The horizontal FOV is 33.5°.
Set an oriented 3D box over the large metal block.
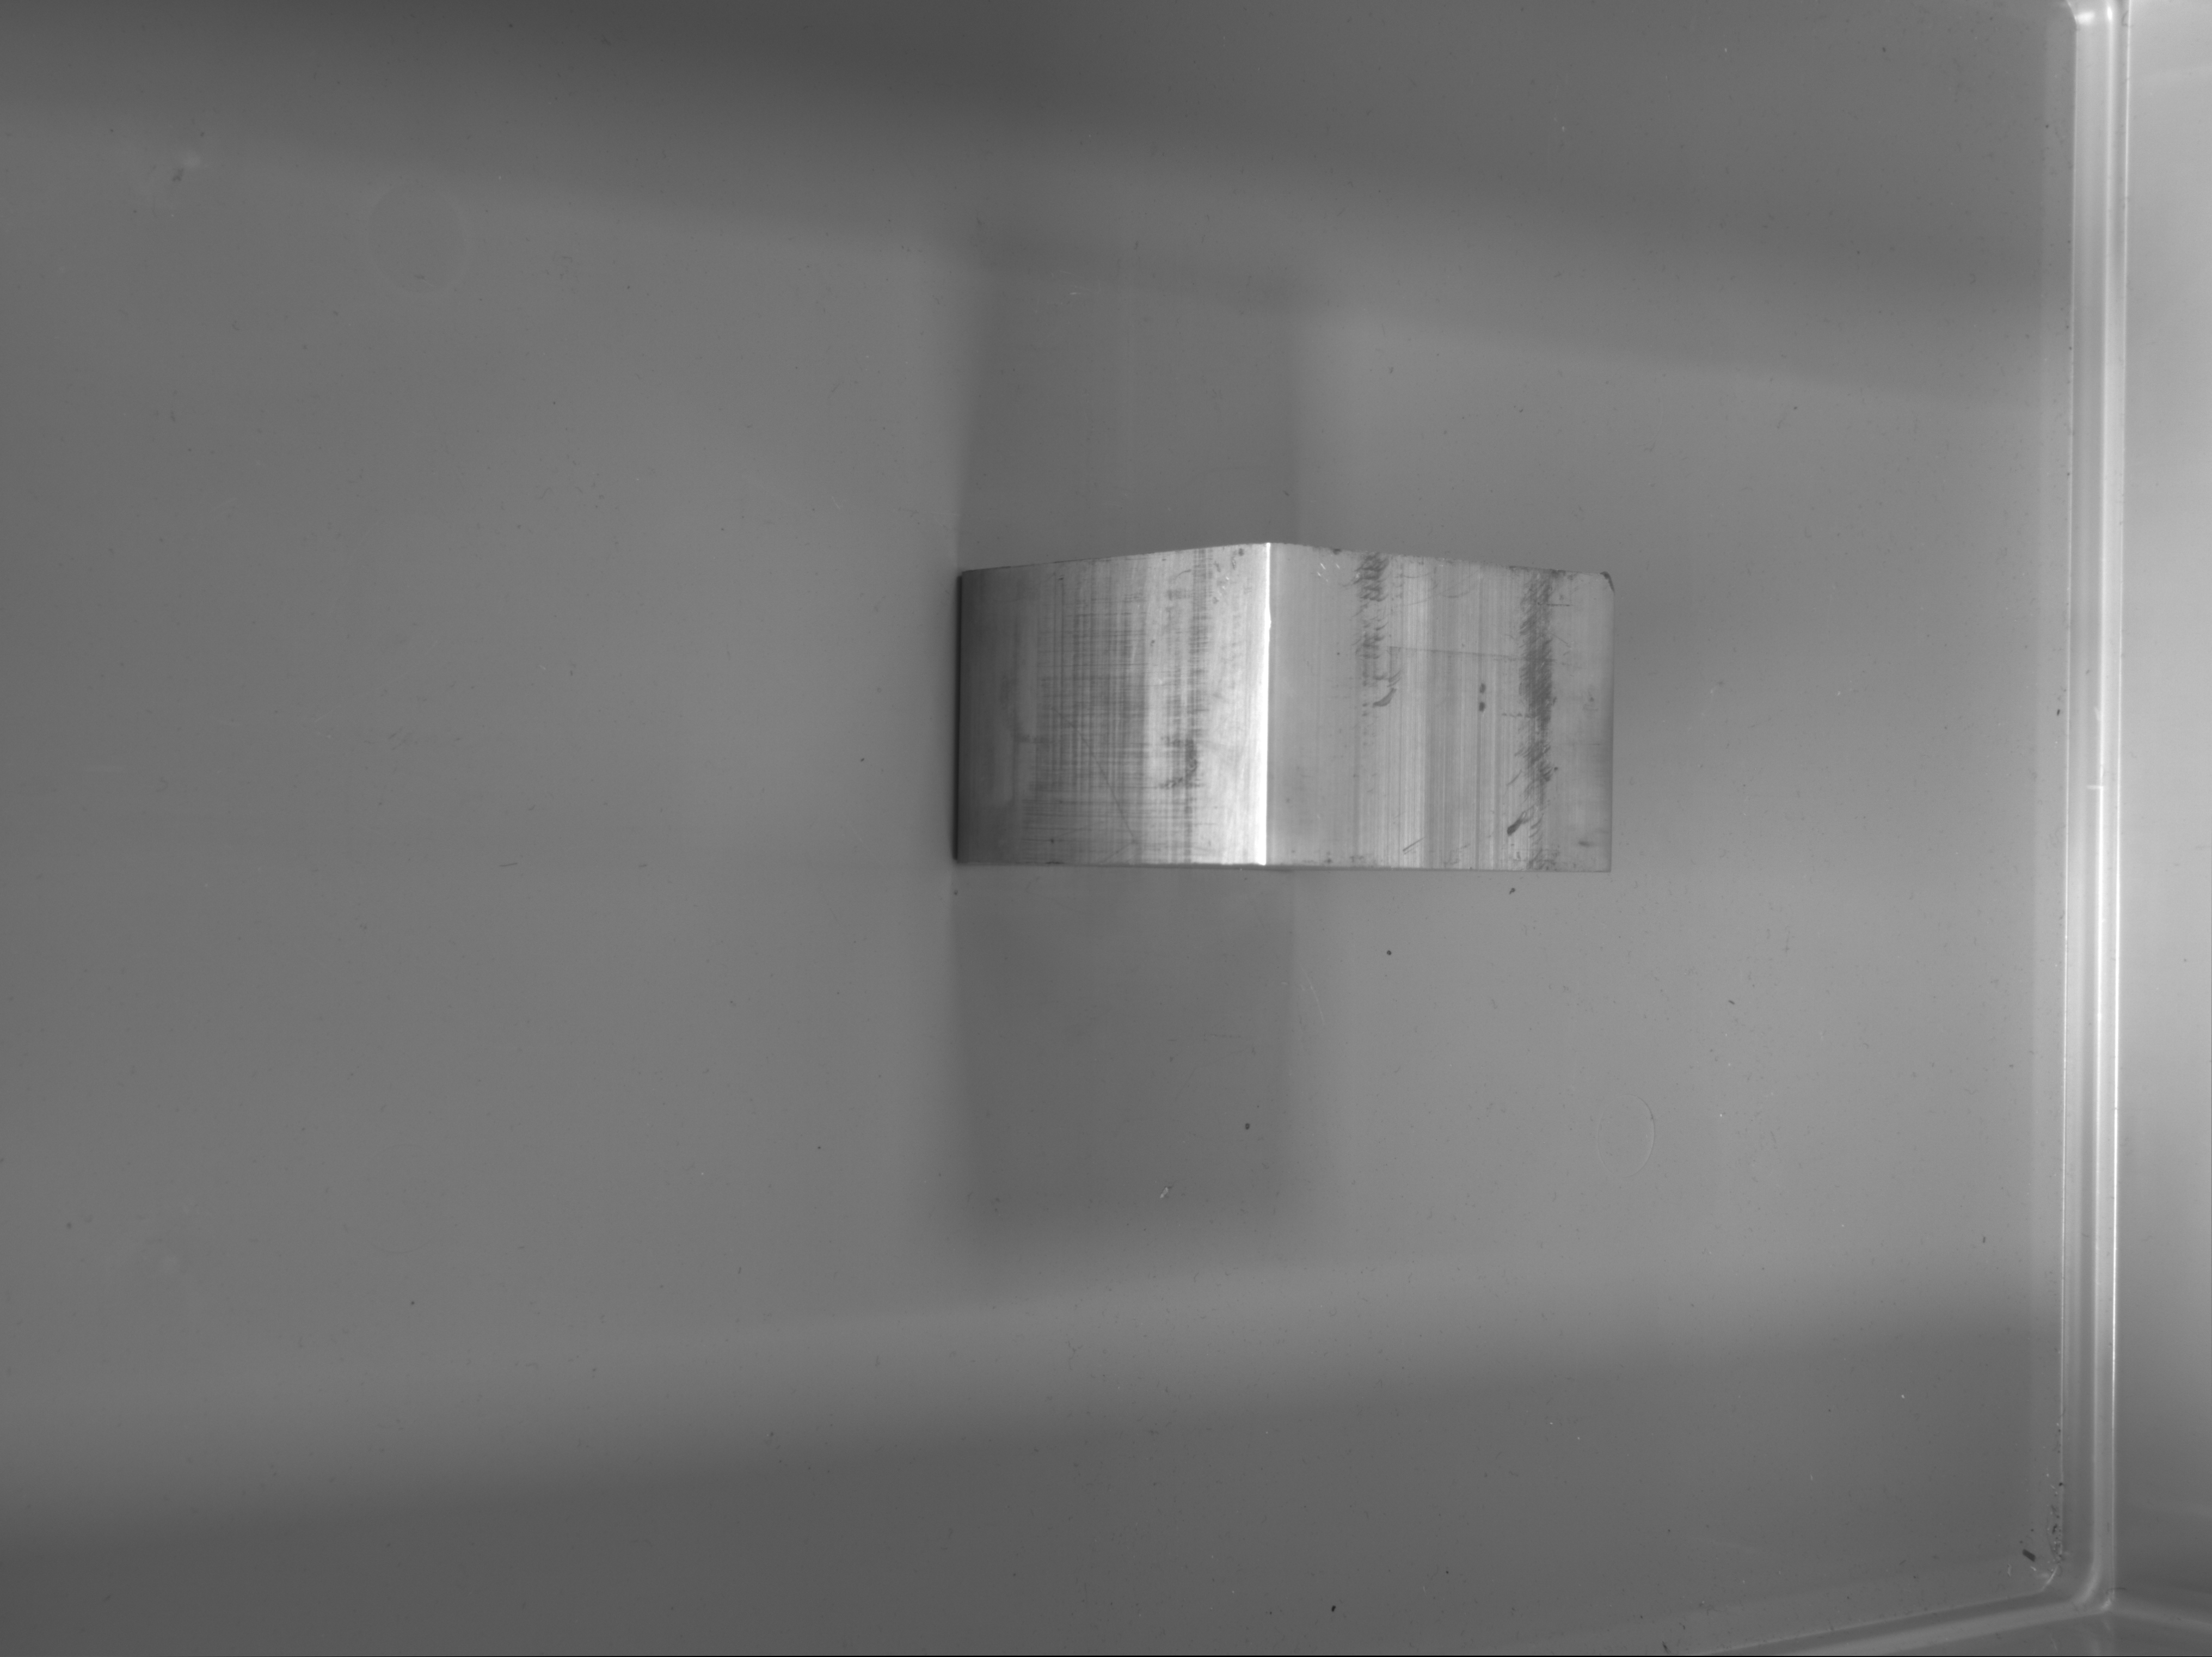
[{"bbox_3d":[0.030,-0.018,0.623,0.080,0.080,0.050,2,89,-40],"label":"large metal block"}]
